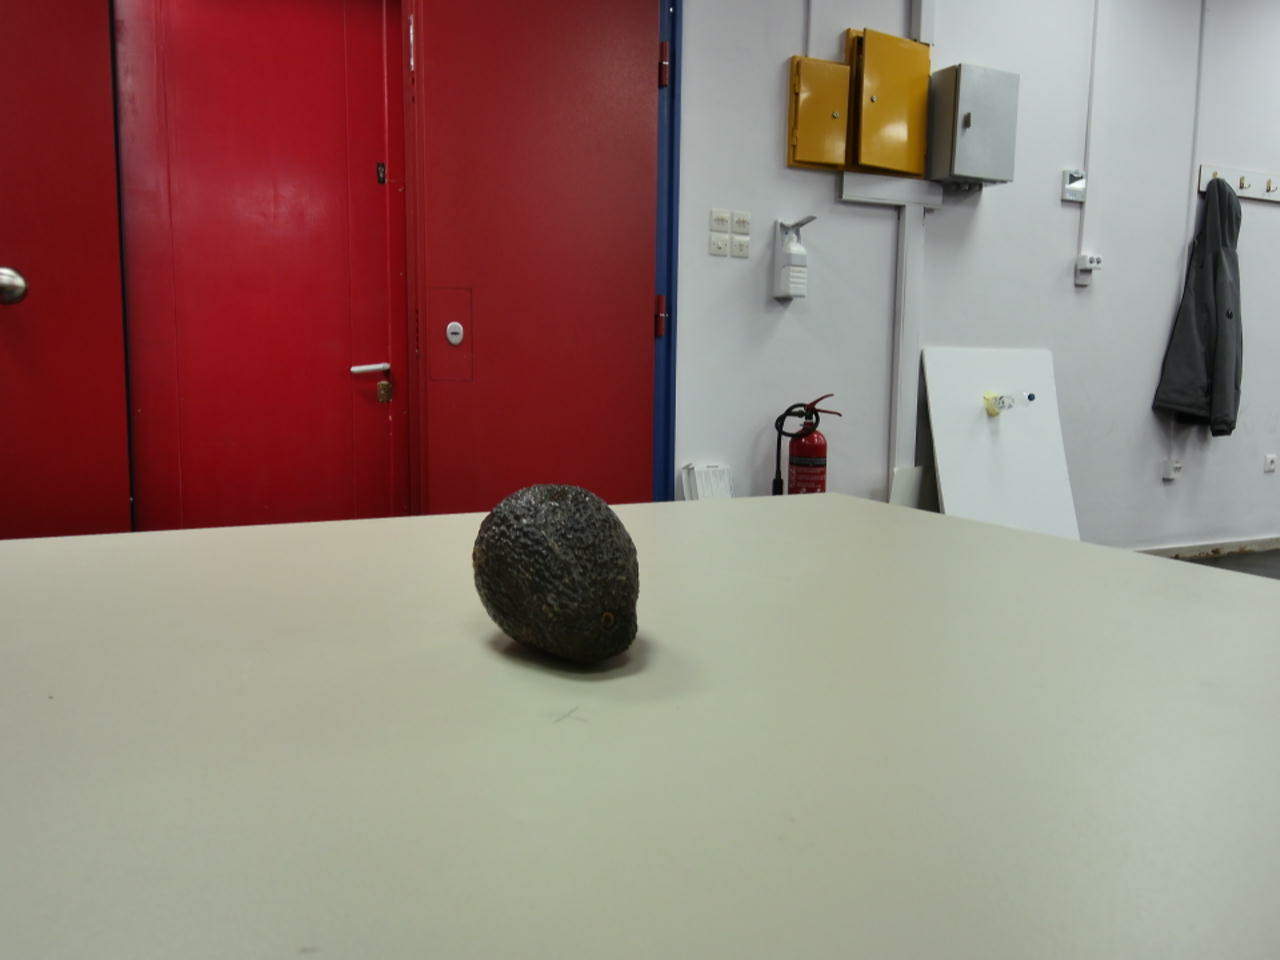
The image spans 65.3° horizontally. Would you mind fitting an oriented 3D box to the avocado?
[{"bbox_3d":[-0.036,0.037,0.417,0.070,0.069,0.090,0,4,-1],"label":"avocado"}]
